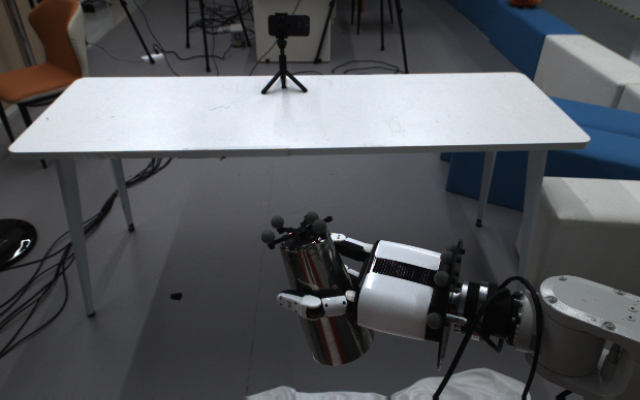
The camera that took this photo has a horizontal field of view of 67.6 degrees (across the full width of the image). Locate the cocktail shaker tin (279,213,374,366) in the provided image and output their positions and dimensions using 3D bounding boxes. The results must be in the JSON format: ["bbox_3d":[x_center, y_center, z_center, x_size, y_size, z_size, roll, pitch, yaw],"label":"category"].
[{"bbox_3d":[0.005,0.123,0.639,0.093,0.170,0.093,-17,19,6],"label":"cocktail shaker tin"}]
